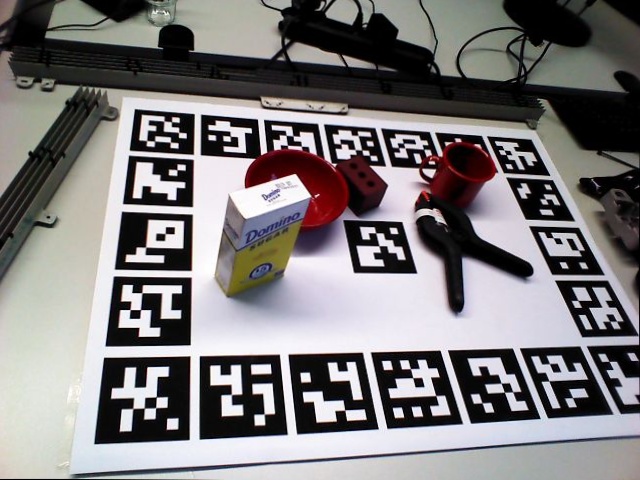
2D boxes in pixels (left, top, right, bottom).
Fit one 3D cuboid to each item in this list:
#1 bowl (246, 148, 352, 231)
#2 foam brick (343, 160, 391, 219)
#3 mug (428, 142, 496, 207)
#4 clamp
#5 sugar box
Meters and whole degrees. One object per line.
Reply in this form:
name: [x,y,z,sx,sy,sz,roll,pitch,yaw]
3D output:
bowl: [-0.035,-0.068,0.791,0.161,0.055,0.160,7,53,-10]
foam brick: [0.073,-0.083,0.840,0.052,0.051,0.078,-24,64,-27]
mug: [0.239,-0.114,0.876,0.117,0.082,0.092,24,52,-1]
clamp: [0.220,0.000,0.811,0.164,0.037,0.202,-21,63,-24]
sugar box: [-0.077,0.003,0.651,0.092,0.177,0.045,-21,64,-29]
